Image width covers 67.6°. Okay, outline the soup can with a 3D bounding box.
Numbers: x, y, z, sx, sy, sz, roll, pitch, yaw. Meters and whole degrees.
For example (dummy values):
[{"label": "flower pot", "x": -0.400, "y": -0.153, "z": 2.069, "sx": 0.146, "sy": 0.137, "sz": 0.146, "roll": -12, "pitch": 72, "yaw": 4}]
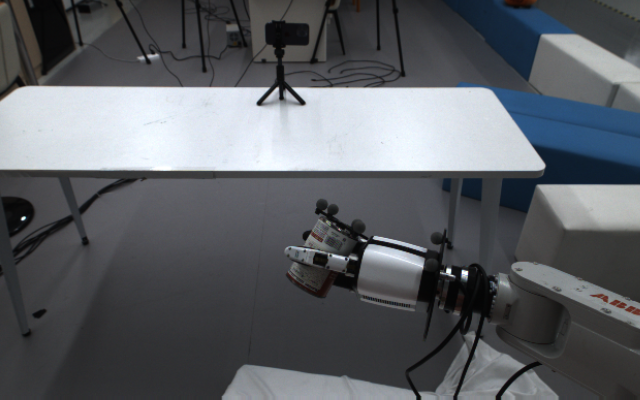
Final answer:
[{"label": "soup can", "x": 0.005, "y": 0.084, "z": 0.708, "sx": 0.067, "sy": 0.101, "sz": 0.067, "roll": 30, "pitch": 2, "yaw": -1}]
